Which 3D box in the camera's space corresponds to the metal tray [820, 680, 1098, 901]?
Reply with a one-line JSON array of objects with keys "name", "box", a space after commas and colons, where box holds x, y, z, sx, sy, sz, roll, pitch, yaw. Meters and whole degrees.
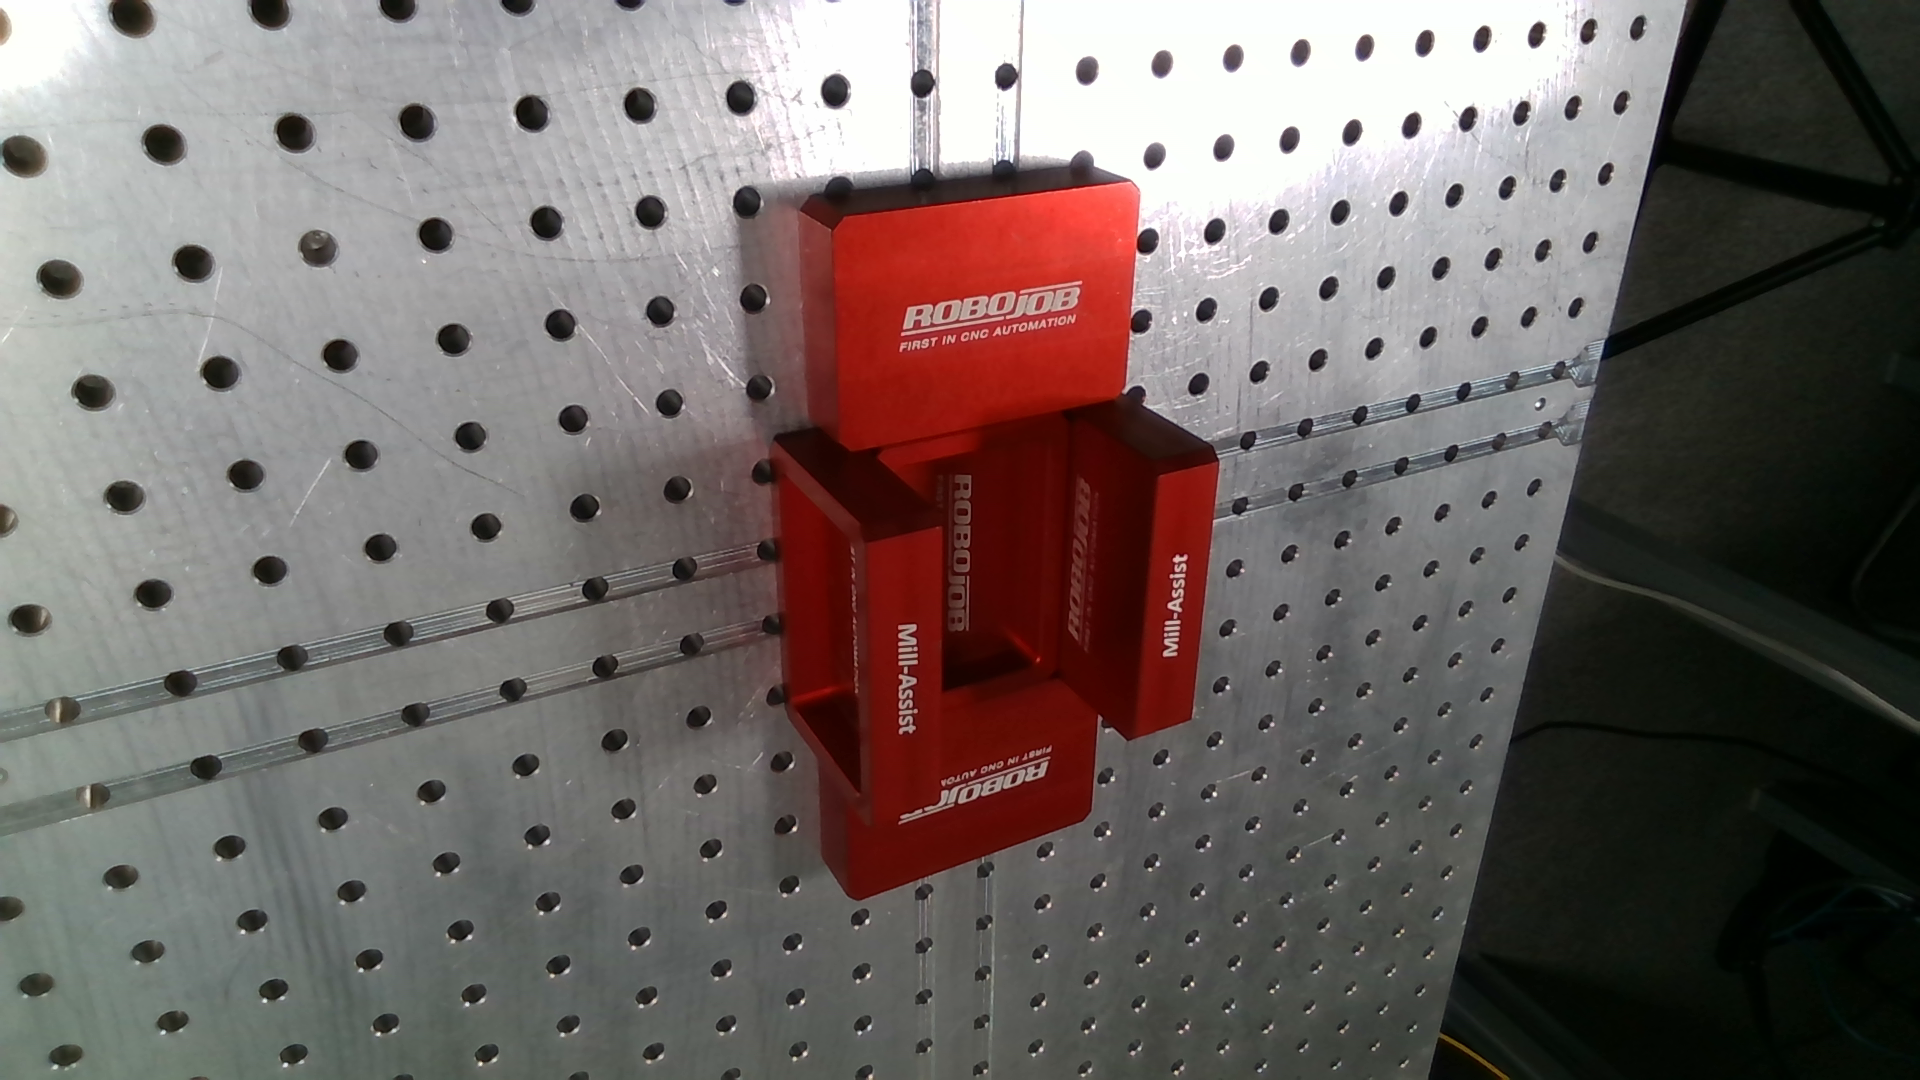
[{"name": "metal tray", "box": [0.001, 0.105, 0.635, 0.130, 0.030, 0.090, -13, 122, -25]}]

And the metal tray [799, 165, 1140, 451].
[{"name": "metal tray", "box": [0.005, -0.092, 0.533, 0.130, 0.030, 0.090, -13, 121, -25]}]

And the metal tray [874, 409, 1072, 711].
[{"name": "metal tray", "box": [-0.001, 0.008, 0.581, 0.090, 0.030, 0.130, -14, 121, -25]}]

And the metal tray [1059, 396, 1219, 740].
[{"name": "metal tray", "box": [0.065, 0.007, 0.585, 0.030, 0.090, 0.130, -14, 121, -25]}]

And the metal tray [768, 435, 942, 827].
[{"name": "metal tray", "box": [-0.041, 0.033, 0.533, 0.030, 0.090, 0.130, -14, 121, -25]}]
